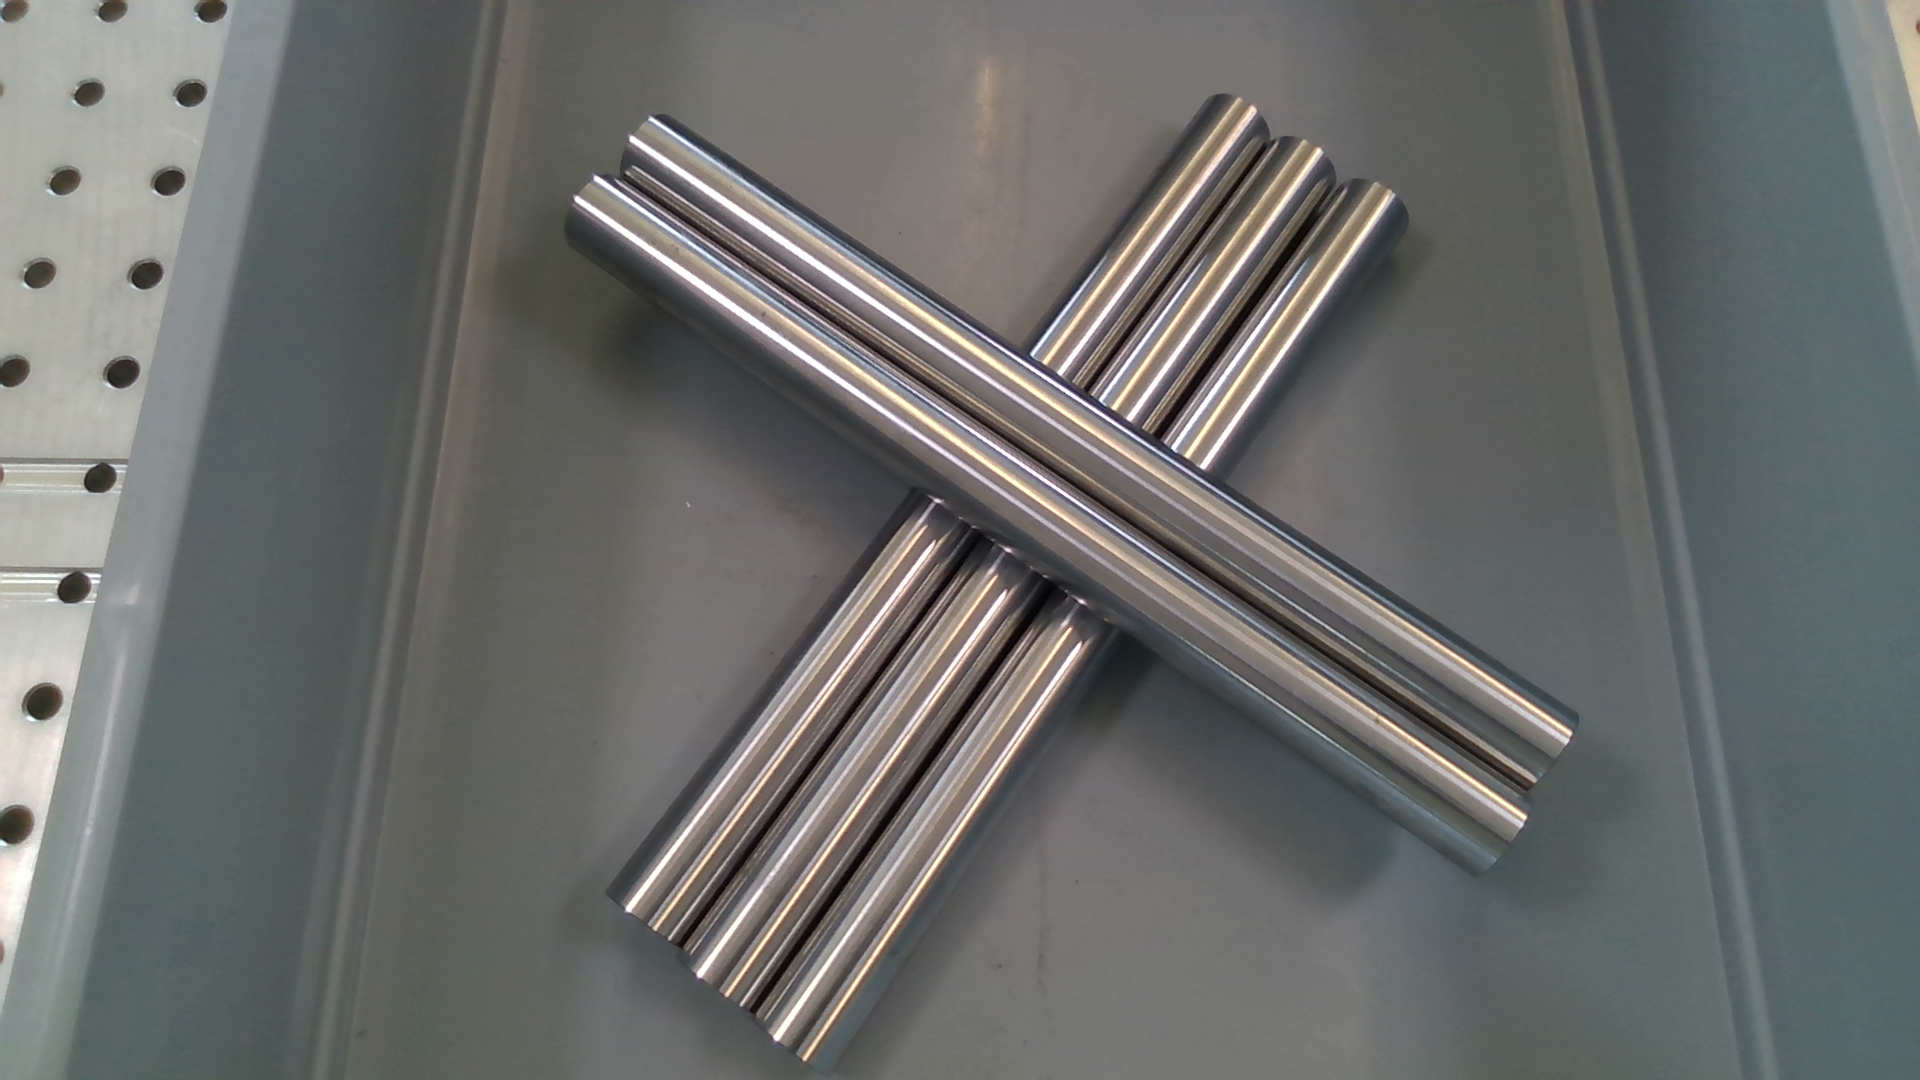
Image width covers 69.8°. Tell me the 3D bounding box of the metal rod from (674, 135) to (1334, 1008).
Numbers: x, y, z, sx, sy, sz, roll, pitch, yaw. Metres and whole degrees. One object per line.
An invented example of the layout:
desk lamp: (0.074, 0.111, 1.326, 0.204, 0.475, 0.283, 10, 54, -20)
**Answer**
metal rod: (0.022, -0.003, 0.395, 0.025, 0.025, 0.300, 33, 74, 11)

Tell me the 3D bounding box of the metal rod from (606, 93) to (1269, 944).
metal rod: (0.003, -0.018, 0.401, 0.025, 0.025, 0.300, 33, 74, 11)

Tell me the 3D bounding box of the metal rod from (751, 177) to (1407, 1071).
metal rod: (0.043, 0.012, 0.390, 0.025, 0.025, 0.300, 33, 74, 11)

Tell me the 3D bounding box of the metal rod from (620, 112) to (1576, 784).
metal rod: (0.028, -0.031, 0.379, 0.300, 0.025, 0.025, 35, 74, 12)

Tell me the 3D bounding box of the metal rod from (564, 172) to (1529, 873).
metal rod: (0.013, -0.012, 0.372, 0.300, 0.025, 0.025, 35, 74, 12)
